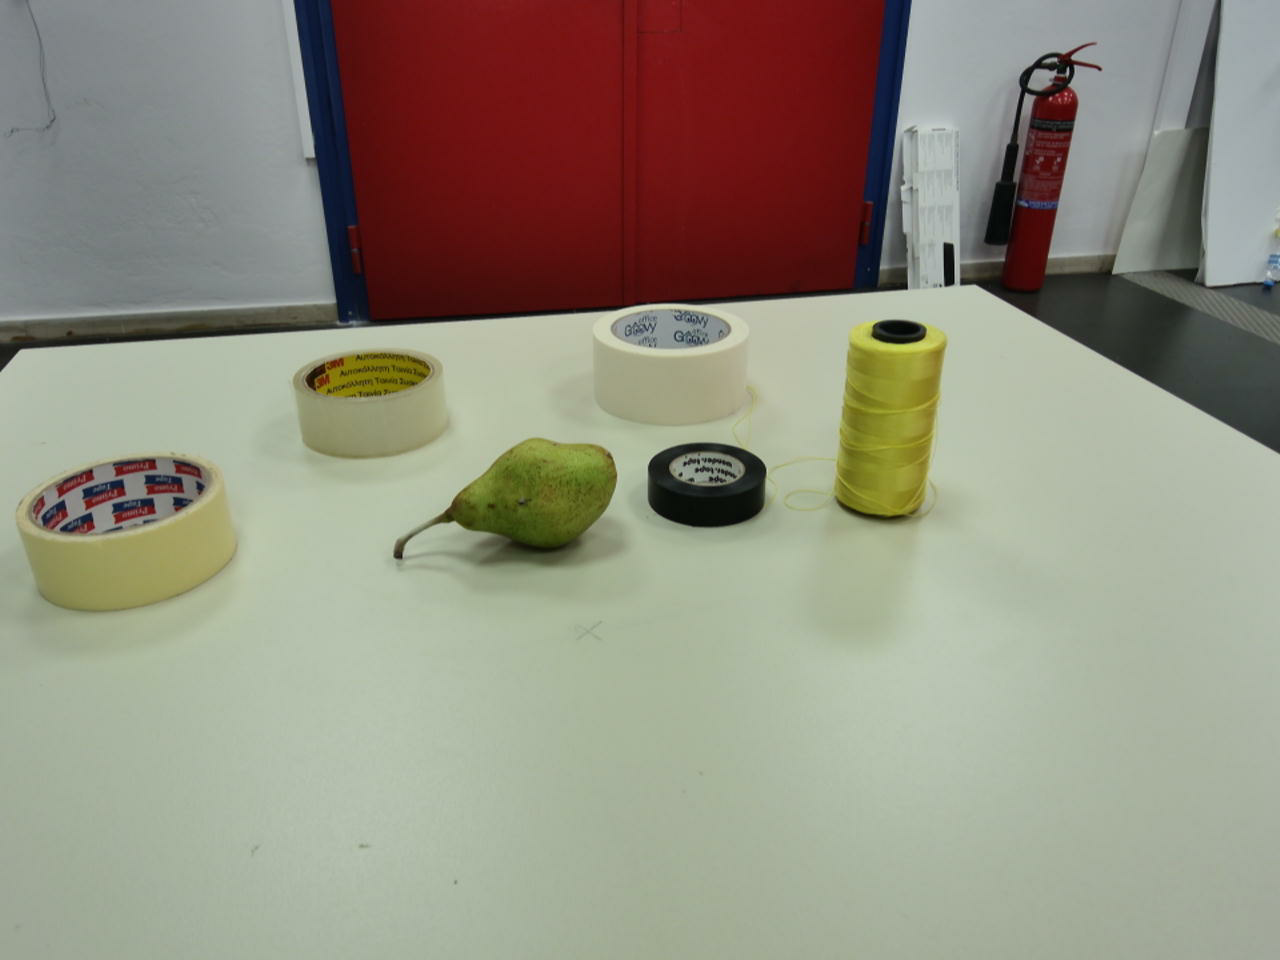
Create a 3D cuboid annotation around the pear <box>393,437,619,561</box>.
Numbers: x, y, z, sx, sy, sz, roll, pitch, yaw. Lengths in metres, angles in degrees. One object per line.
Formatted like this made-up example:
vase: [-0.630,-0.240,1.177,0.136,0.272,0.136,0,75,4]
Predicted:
pear: [-0.067,0.006,0.507,0.111,0.056,0.056,1,26,2]
